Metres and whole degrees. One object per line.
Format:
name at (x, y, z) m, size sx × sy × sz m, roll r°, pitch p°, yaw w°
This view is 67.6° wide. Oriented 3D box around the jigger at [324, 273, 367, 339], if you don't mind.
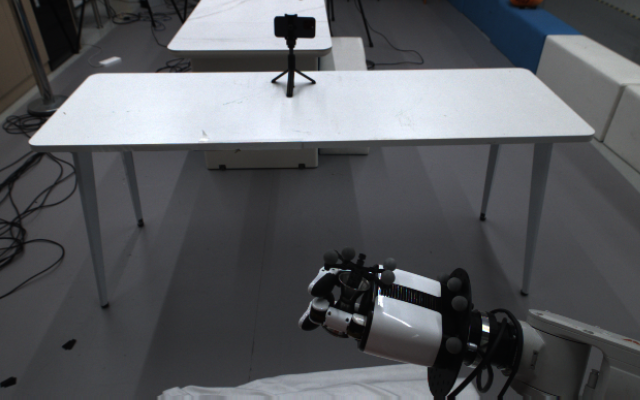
jigger at (0.035, 0.129, 0.602) m, size 0.043 × 0.071 × 0.043 m, roll 15°, pitch 16°, yaw -5°
